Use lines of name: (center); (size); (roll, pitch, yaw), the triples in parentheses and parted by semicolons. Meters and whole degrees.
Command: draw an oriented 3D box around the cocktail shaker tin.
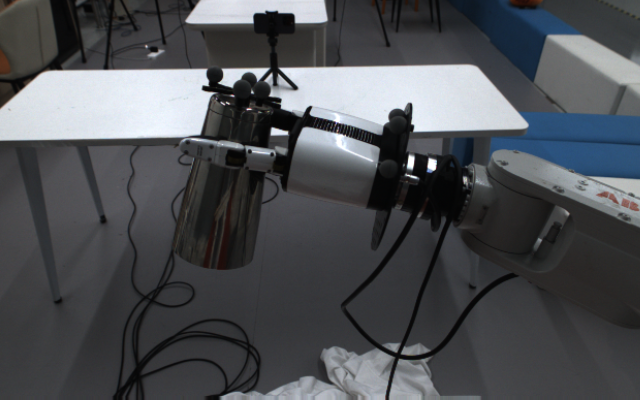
cocktail shaker tin: (-0.098, -0.023, 0.525); (0.093, 0.170, 0.093); (13, 18, -5)
